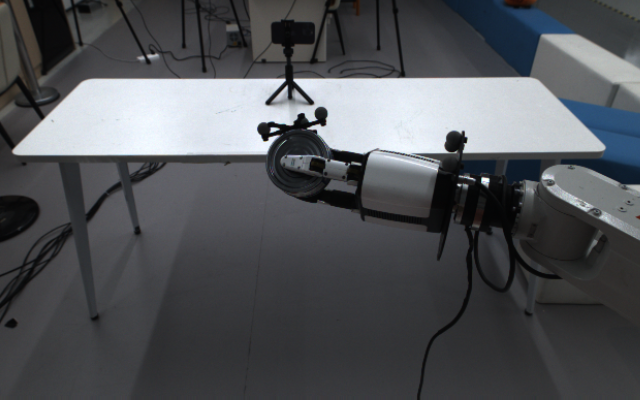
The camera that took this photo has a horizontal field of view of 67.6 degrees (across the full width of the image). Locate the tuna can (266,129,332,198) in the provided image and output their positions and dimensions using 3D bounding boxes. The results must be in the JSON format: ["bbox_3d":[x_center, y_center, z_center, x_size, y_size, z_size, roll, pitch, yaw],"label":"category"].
[{"bbox_3d":[-0.022,-0.042,0.624,0.085,0.085,0.034,12,-6,14],"label":"tuna can"}]
